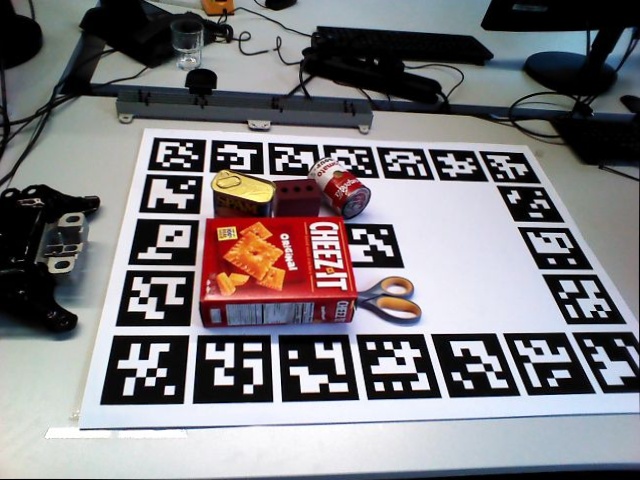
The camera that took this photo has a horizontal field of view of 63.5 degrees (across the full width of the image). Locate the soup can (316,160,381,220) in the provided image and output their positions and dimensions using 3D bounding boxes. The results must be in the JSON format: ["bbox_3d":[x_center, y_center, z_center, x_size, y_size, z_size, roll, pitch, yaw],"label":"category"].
[{"bbox_3d":[0.049,-0.090,0.919,0.067,0.068,0.102,-31,54,-30],"label":"soup can"}]

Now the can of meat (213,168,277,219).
[{"bbox_3d":[-0.120,-0.061,0.844,0.102,0.084,0.057,12,48,2],"label":"can of meat"}]

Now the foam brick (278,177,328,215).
[{"bbox_3d":[-0.030,-0.071,0.891,0.078,0.051,0.052,-7,51,-14],"label":"foam brick"}]

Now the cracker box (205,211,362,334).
[{"bbox_3d":[-0.057,0.040,0.754,0.214,0.072,0.163,-5,49,-8],"label":"cracker box"}]

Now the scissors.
[{"bbox_3d":[0.057,0.089,0.768,0.203,0.016,0.087,-3,50,-10],"label":"scissors"}]
